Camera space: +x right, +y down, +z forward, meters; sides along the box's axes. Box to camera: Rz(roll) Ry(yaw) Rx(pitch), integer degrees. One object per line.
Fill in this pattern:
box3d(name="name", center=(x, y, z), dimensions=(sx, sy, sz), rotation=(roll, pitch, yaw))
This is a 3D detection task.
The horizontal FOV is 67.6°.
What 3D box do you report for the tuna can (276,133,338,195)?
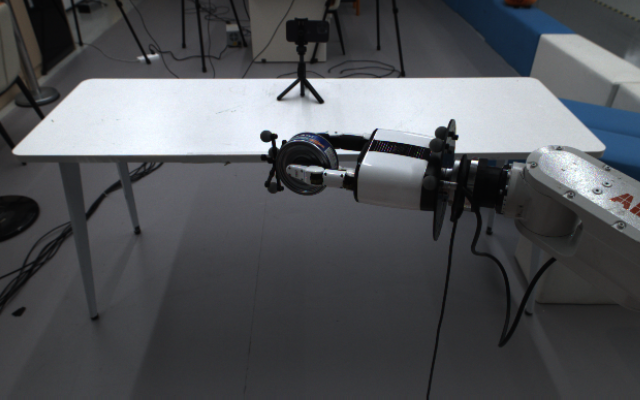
box3d(name="tuna can", center=(-0.017, -0.053, 0.688), dimensions=(0.085, 0.085, 0.034), rotation=(12, 28, 14))
